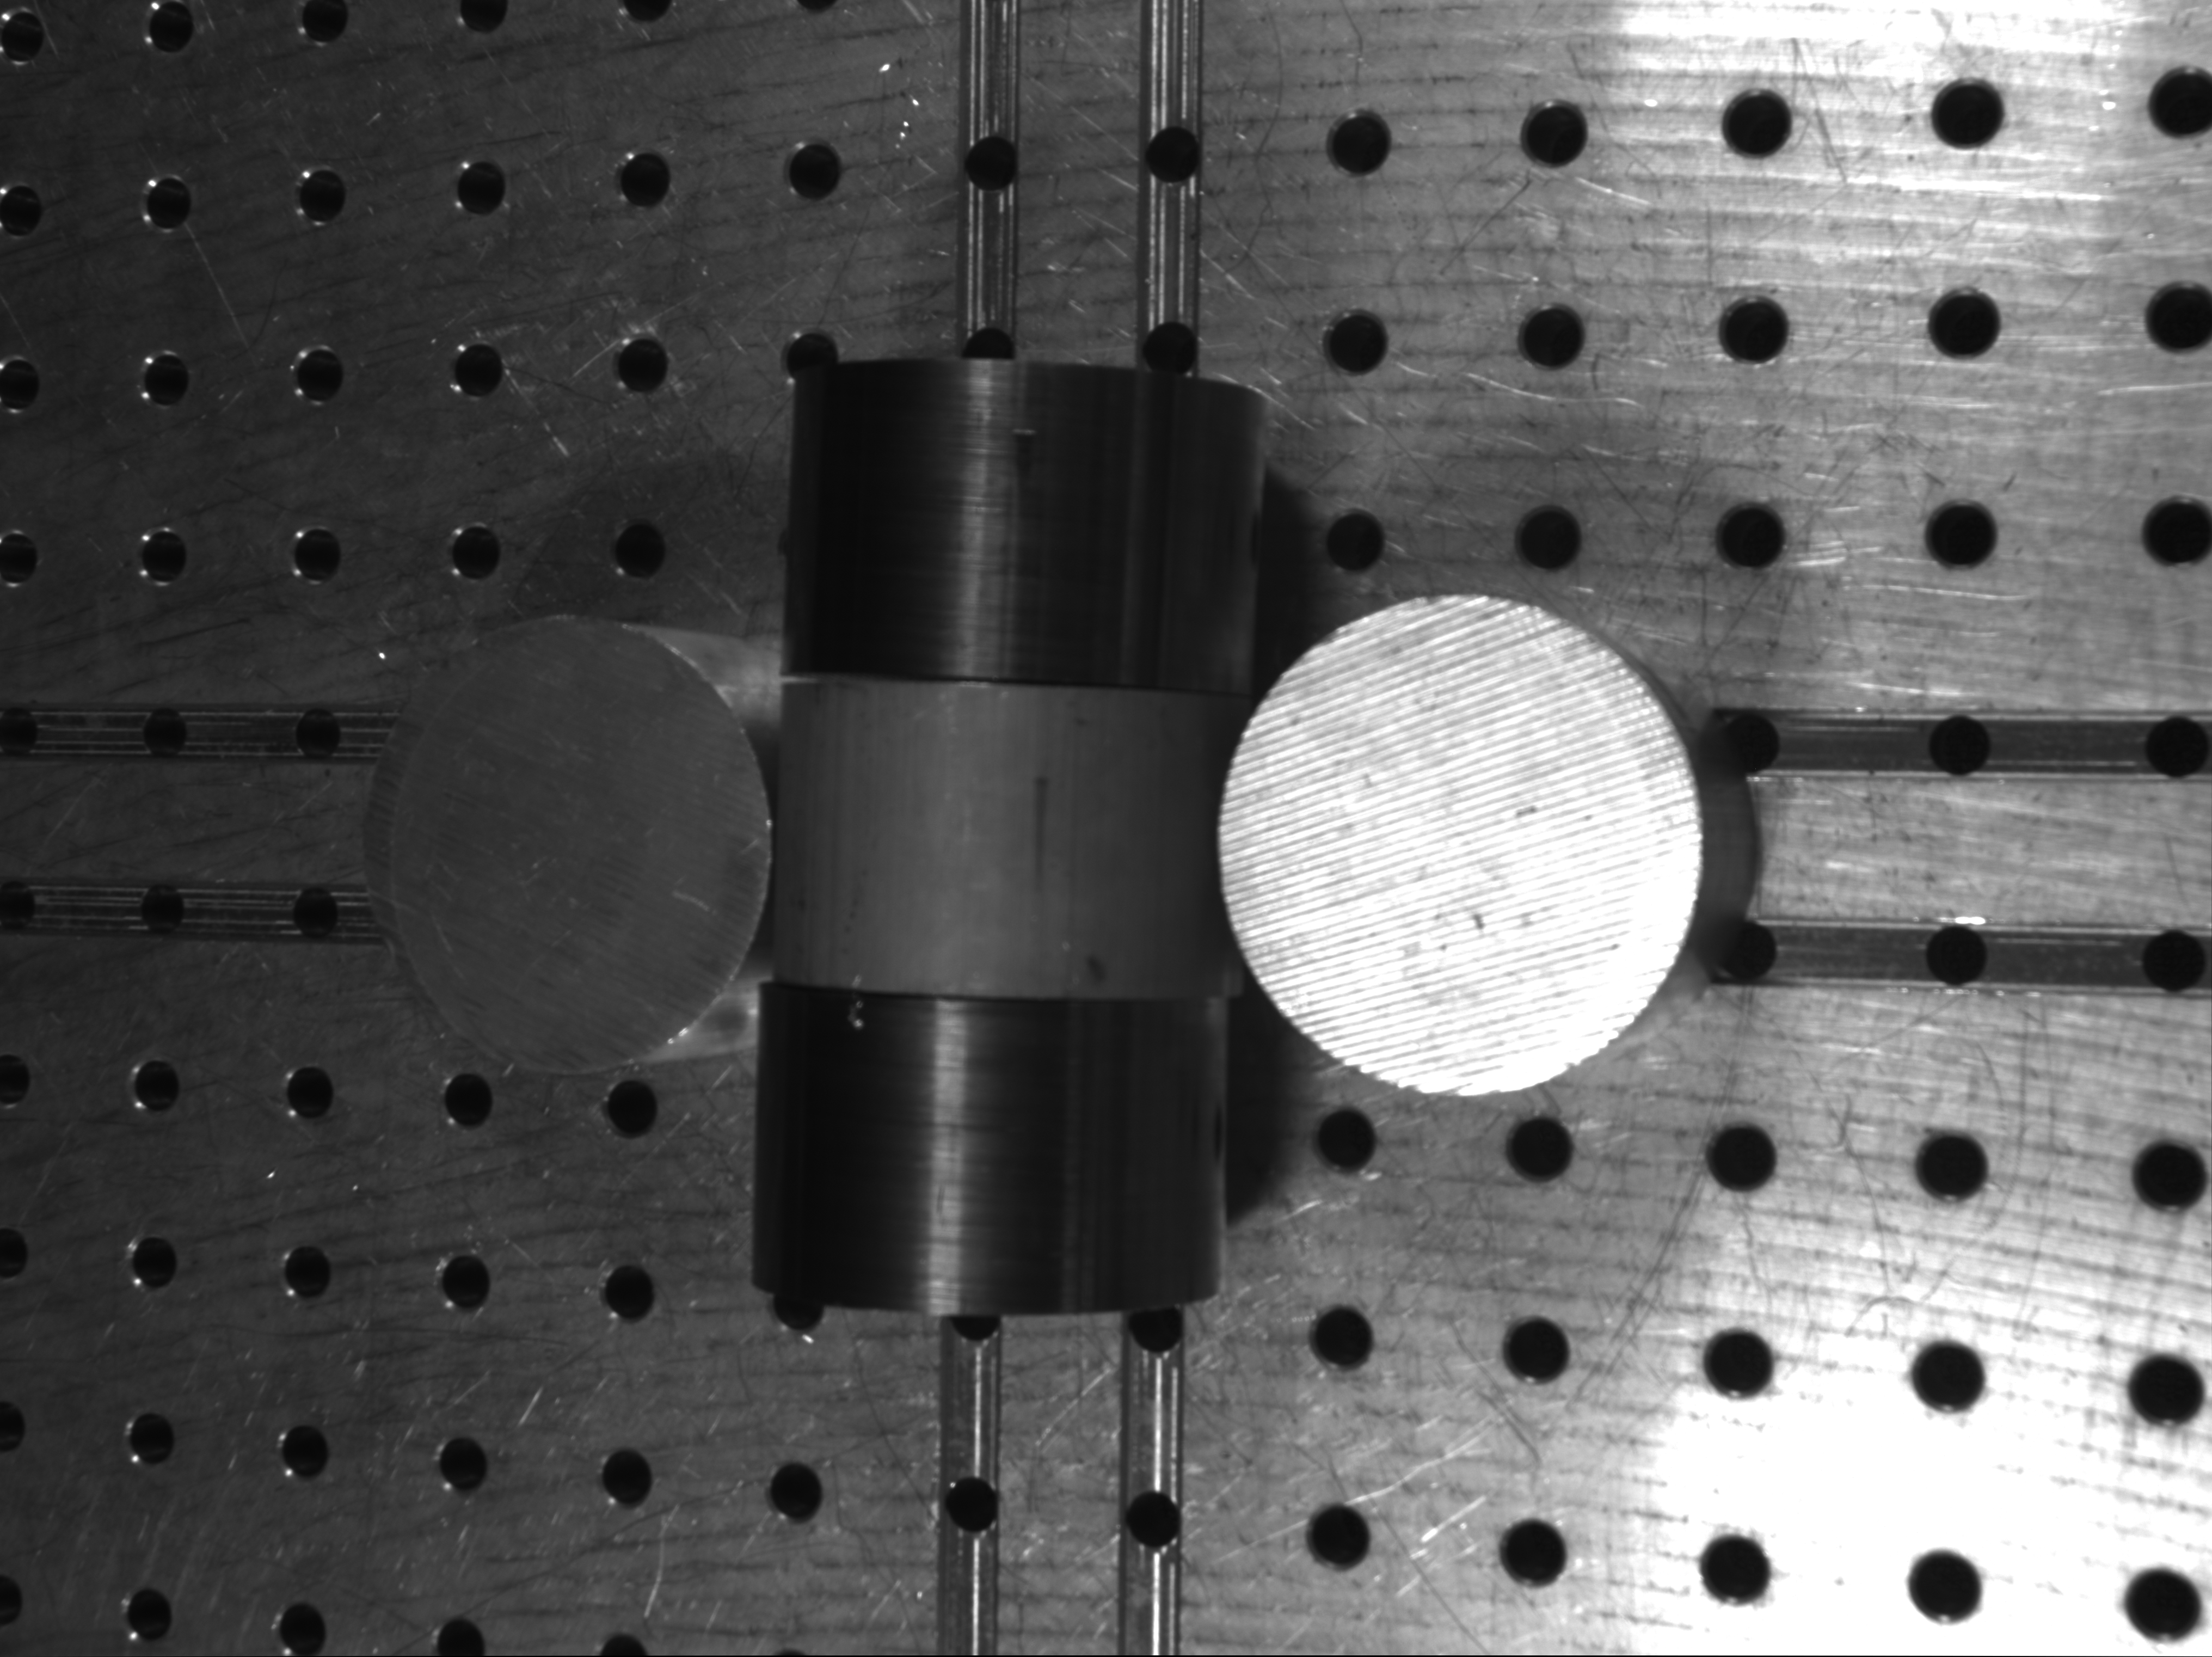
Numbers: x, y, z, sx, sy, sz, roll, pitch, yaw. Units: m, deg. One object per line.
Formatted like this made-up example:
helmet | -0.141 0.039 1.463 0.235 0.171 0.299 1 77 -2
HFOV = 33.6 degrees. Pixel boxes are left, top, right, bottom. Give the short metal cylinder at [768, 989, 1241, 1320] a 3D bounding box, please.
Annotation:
short metal cylinder | -0.017 0.053 0.623 0.080 0.080 0.050 1 90 20

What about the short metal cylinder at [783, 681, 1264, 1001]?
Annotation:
short metal cylinder | -0.014 0.002 0.622 0.080 0.080 0.050 2 91 20

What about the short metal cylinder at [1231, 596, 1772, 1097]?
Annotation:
short metal cylinder | 0.067 0.003 0.609 0.080 0.050 0.080 0 90 20

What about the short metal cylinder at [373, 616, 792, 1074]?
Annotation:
short metal cylinder | -0.085 0.003 0.663 0.080 0.050 0.080 0 90 20

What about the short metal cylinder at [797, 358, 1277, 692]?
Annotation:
short metal cylinder | -0.012 -0.050 0.621 0.080 0.080 0.050 3 91 20
